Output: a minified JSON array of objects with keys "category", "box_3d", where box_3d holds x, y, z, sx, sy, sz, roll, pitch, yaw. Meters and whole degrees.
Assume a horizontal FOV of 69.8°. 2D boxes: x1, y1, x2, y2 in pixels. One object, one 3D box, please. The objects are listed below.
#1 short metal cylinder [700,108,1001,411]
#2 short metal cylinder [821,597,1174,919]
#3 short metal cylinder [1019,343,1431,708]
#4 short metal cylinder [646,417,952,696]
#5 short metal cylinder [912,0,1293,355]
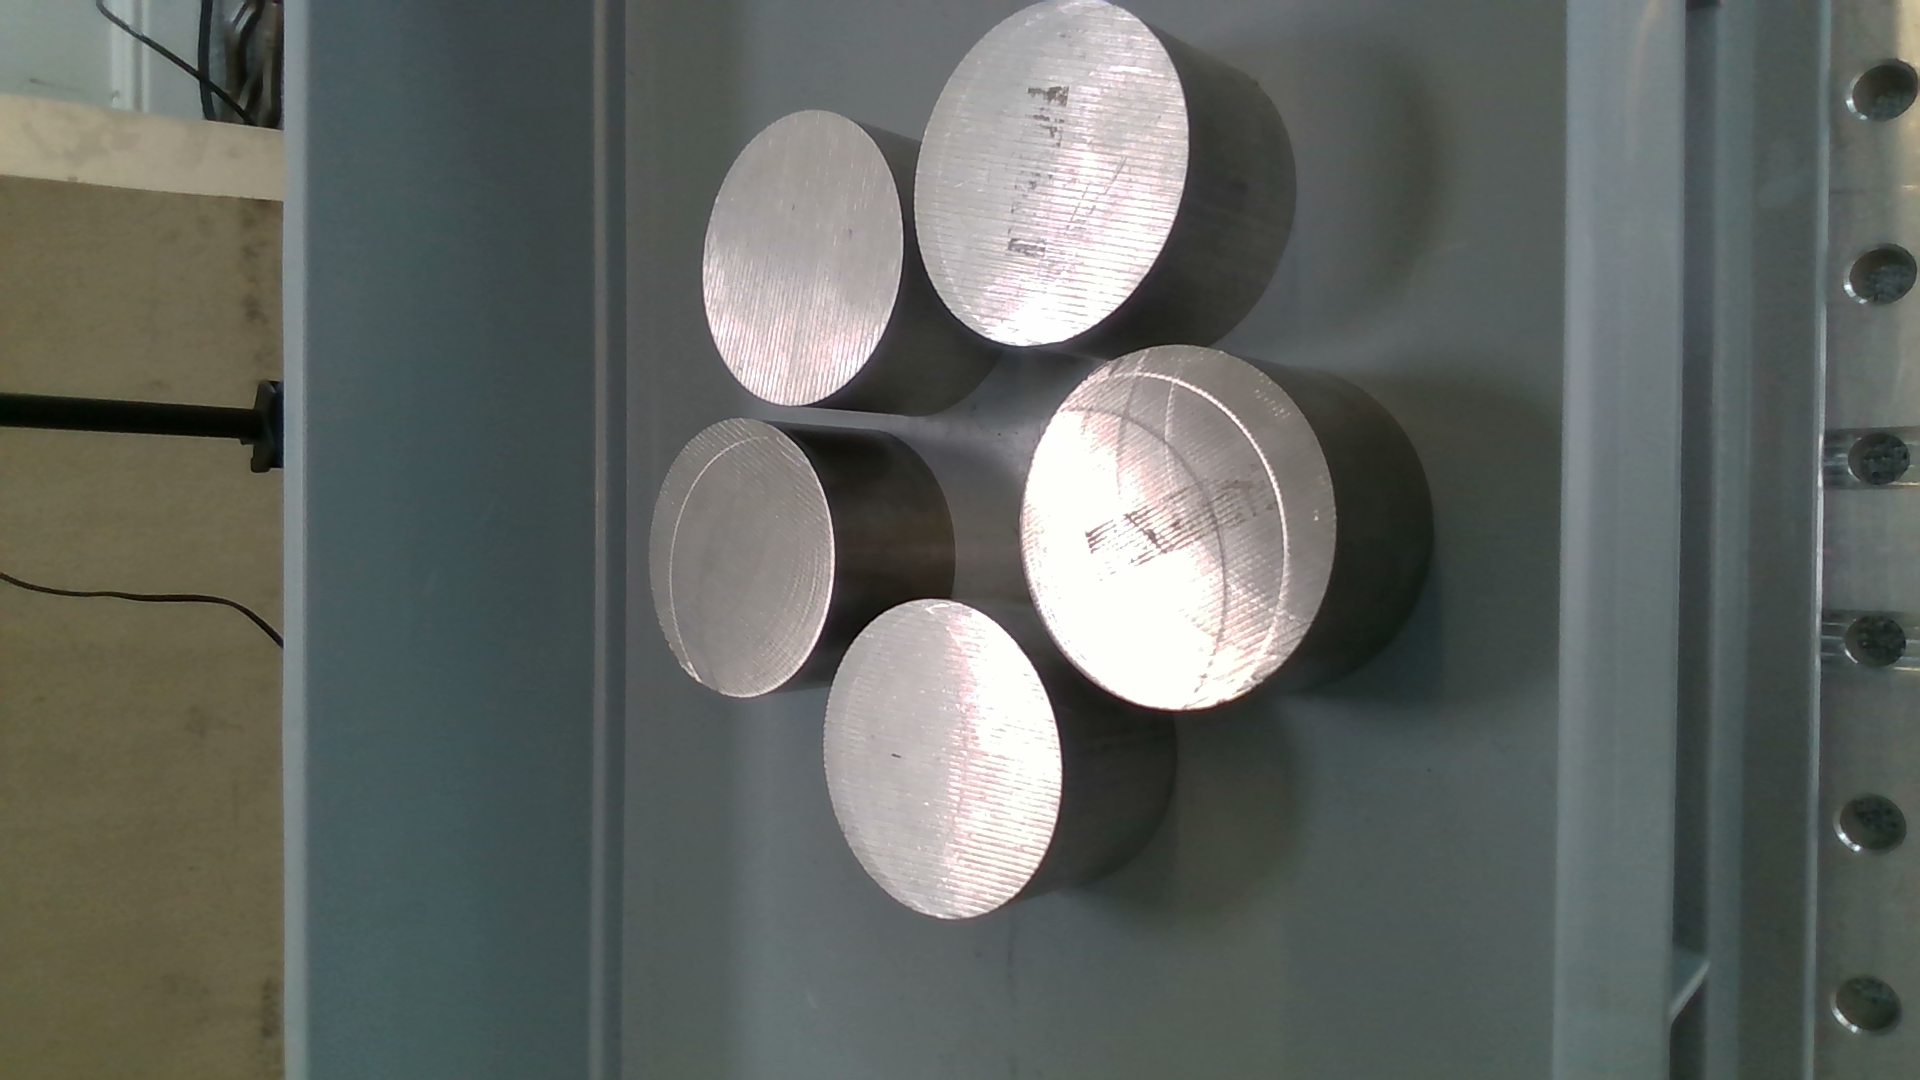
[{"category":"short metal cylinder","box_3d":[-0.030,-0.078,0.397,0.080,0.050,0.080,0,91,40]},{"category":"short metal cylinder","box_3d":[0.009,0.055,0.365,0.080,0.050,0.080,0,91,40]},{"category":"short metal cylinder","box_3d":[0.061,-0.003,0.321,0.080,0.050,0.080,0,91,40]},{"category":"short metal cylinder","box_3d":[-0.049,0.005,0.414,0.080,0.050,0.080,0,91,40]},{"category":"short metal cylinder","box_3d":[0.034,-0.087,0.342,0.080,0.050,0.080,0,91,40]}]
